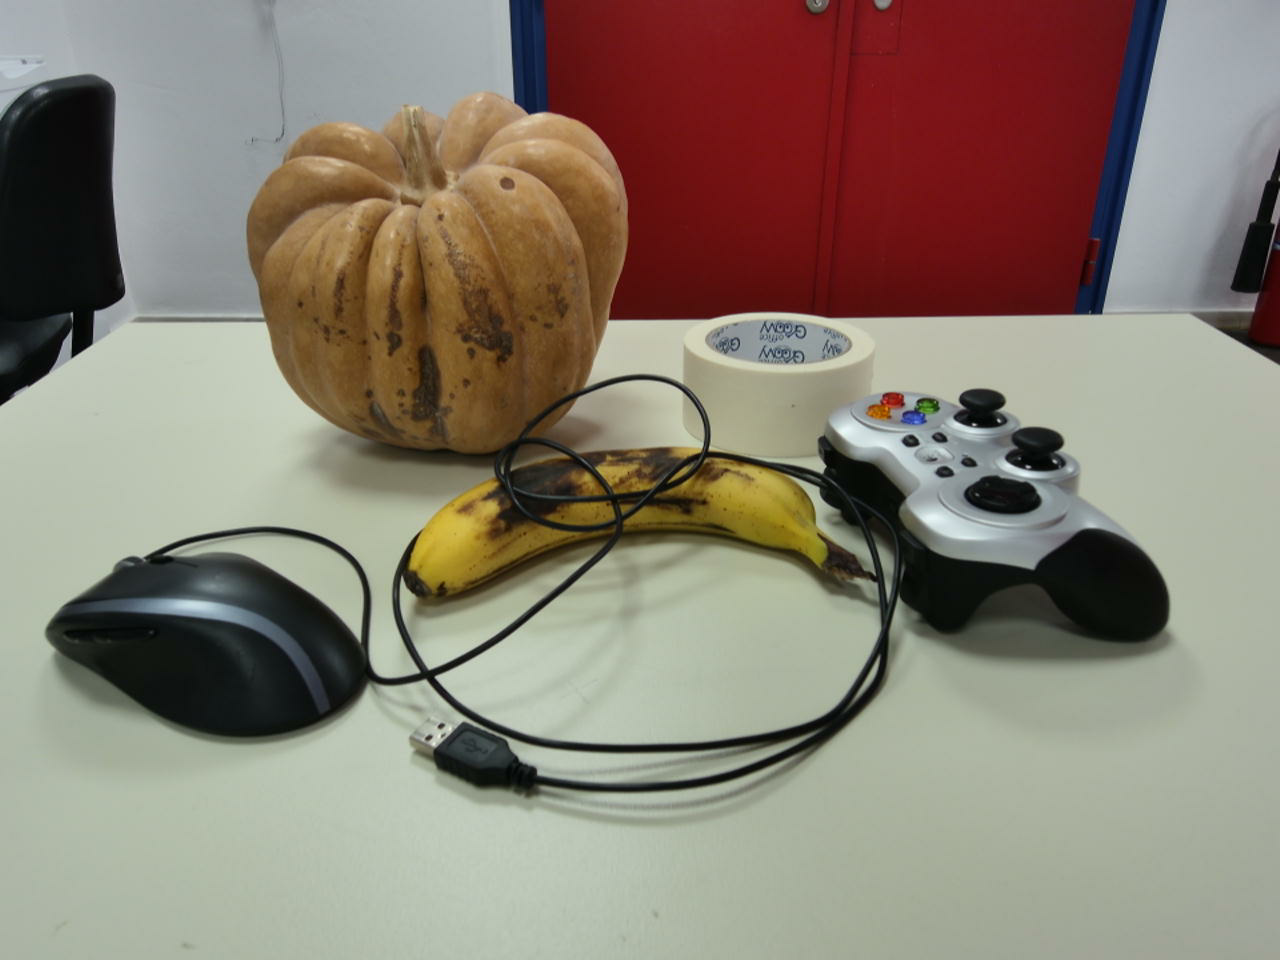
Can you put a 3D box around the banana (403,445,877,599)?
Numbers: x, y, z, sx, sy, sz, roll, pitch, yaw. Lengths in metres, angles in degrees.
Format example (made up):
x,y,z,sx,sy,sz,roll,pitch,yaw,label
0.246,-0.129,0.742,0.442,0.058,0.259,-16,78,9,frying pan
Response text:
x,y,z,sx,sy,sz,roll,pitch,yaw,label
-0.003,0.016,0.434,0.187,0.039,0.094,-1,24,-2,banana
